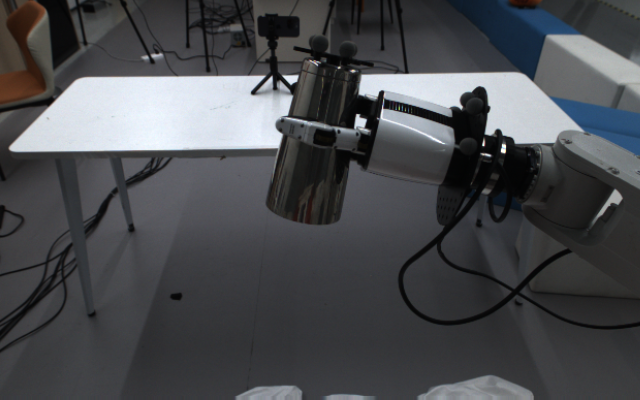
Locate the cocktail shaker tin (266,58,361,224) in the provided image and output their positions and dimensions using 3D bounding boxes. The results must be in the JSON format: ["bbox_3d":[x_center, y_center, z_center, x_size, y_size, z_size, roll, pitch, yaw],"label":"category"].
[{"bbox_3d":[-0.002,-0.068,0.552,0.093,0.170,0.093,11,19,-4],"label":"cocktail shaker tin"}]
